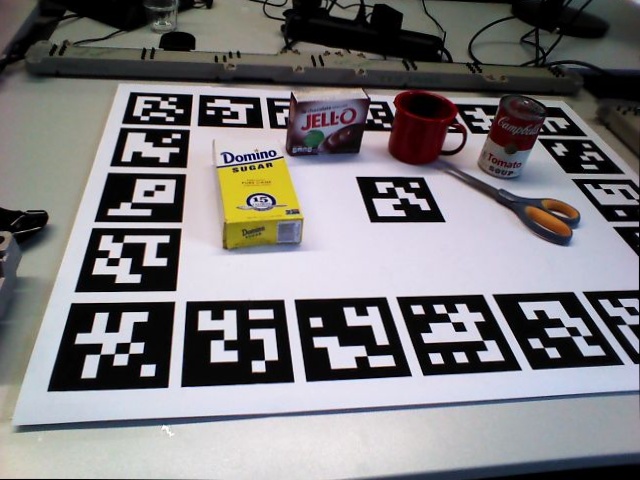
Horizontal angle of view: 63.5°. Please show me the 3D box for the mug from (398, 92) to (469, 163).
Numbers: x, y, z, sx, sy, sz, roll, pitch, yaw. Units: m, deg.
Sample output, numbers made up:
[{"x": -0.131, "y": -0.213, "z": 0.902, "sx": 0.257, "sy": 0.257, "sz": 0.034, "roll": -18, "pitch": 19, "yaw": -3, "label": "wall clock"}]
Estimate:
[{"x": 0.170, "y": -0.164, "z": 0.765, "sx": 0.093, "sy": 0.082, "sz": 0.117, "roll": -31, "pitch": 55, "yaw": -30, "label": "mug"}]

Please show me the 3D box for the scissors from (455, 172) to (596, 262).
[{"x": 0.273, "y": -0.047, "z": 0.705, "sx": 0.203, "sy": 0.016, "sz": 0.087, "roll": 36, "pitch": 60, "yaw": 24, "label": "scissors"}]

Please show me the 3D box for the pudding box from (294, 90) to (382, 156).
[{"x": 0.023, "y": -0.169, "z": 0.739, "sx": 0.113, "sy": 0.090, "sz": 0.038, "roll": -7, "pitch": 52, "yaw": -15, "label": "pudding box"}]

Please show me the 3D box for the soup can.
[{"x": 0.289, "y": -0.138, "z": 0.752, "sx": 0.068, "sy": 0.102, "sz": 0.067, "roll": 3, "pitch": 43, "yaw": -4, "label": "soup can"}]

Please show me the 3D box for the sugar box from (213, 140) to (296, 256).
[{"x": -0.086, "y": -0.060, "z": 0.653, "sx": 0.093, "sy": 0.045, "sz": 0.175, "roll": -3, "pitch": 47, "yaw": -9, "label": "sugar box"}]
